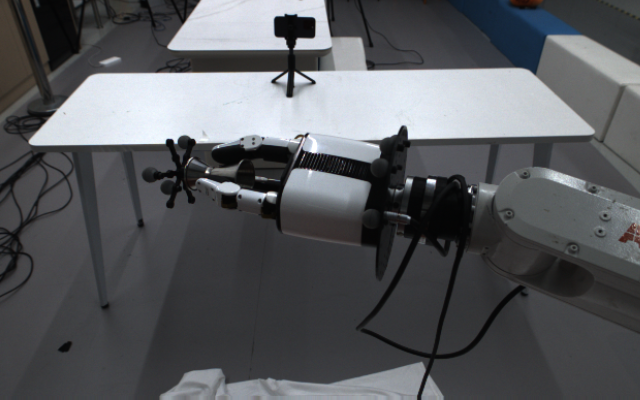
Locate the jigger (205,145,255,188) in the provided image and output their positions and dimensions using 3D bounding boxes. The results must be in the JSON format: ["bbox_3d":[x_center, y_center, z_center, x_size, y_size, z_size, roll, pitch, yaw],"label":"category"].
[{"bbox_3d":[-0.105,-0.033,0.547,0.071,0.043,0.043,5,34,20],"label":"jigger"}]
